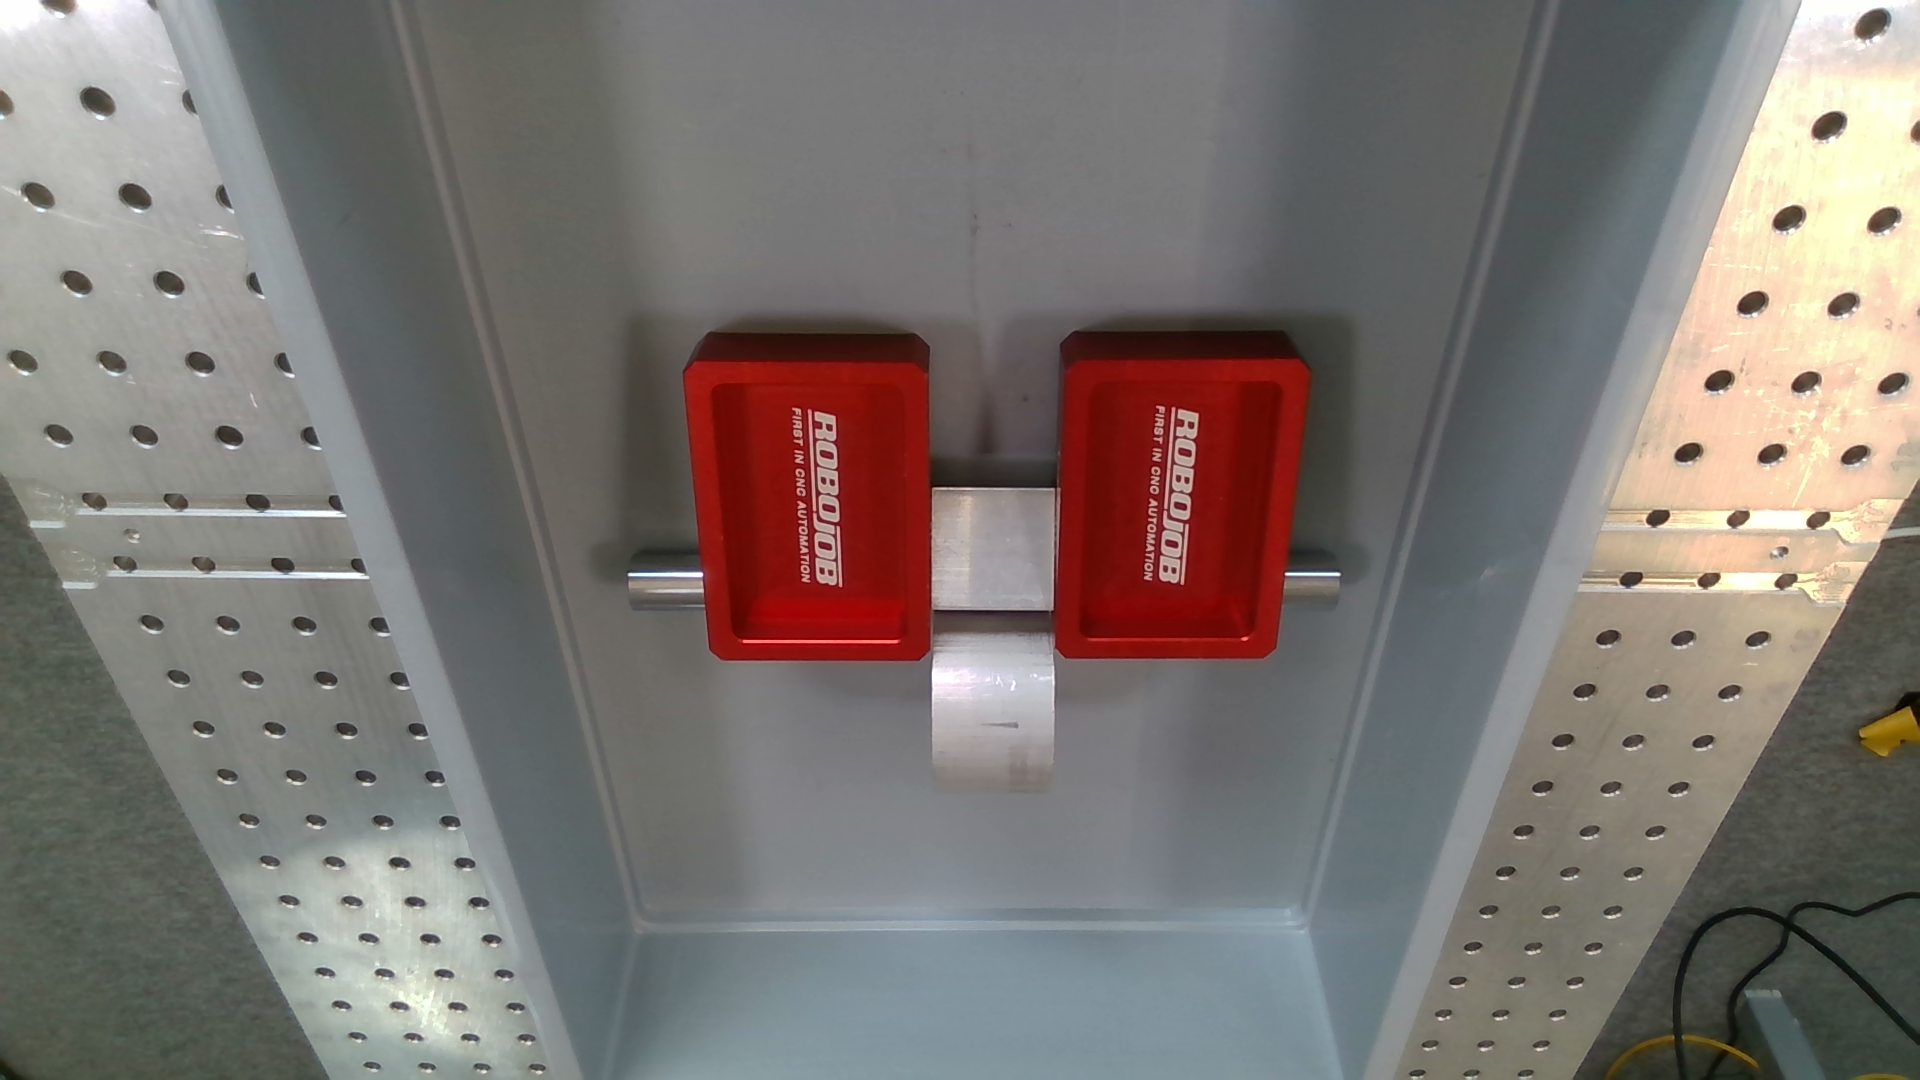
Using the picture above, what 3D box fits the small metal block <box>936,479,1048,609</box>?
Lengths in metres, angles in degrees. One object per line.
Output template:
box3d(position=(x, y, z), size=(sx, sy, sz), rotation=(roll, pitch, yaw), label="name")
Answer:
box3d(position=(0.013, 0.001, 0.566), size=(0.050, 0.025, 0.050), rotation=(1, 99, 0), label="small metal block")

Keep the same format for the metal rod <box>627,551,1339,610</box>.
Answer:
box3d(position=(0.010, 0.017, 0.592), size=(0.300, 0.025, 0.025), rotation=(0, 130, 0), label="metal rod")

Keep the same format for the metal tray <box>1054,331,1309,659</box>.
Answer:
box3d(position=(0.083, -0.016, 0.544), size=(0.090, 0.030, 0.130), rotation=(0, 118, 0), label="metal tray")

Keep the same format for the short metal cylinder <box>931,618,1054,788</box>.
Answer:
box3d(position=(0.013, 0.069, 0.601), size=(0.050, 0.080, 0.080), rotation=(0, 130, 0), label="short metal cylinder")

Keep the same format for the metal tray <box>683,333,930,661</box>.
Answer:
box3d(position=(-0.057, -0.015, 0.545), size=(0.090, 0.030, 0.130), rotation=(0, 118, 0), label="metal tray")
